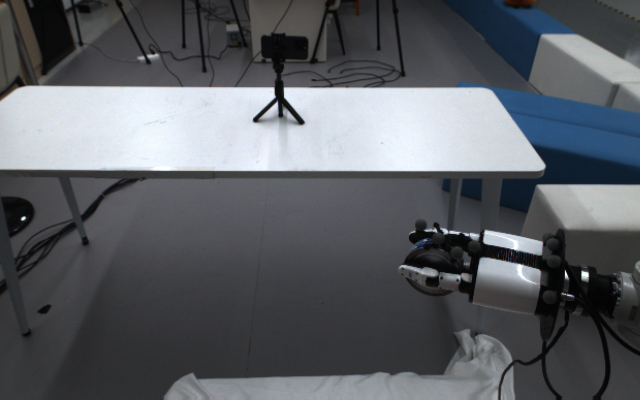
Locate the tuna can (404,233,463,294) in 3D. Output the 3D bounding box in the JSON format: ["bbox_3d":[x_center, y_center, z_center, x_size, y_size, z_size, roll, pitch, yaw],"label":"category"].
[{"bbox_3d":[0.174,0.098,0.728,0.085,0.085,0.034,16,28,19],"label":"tuna can"}]
